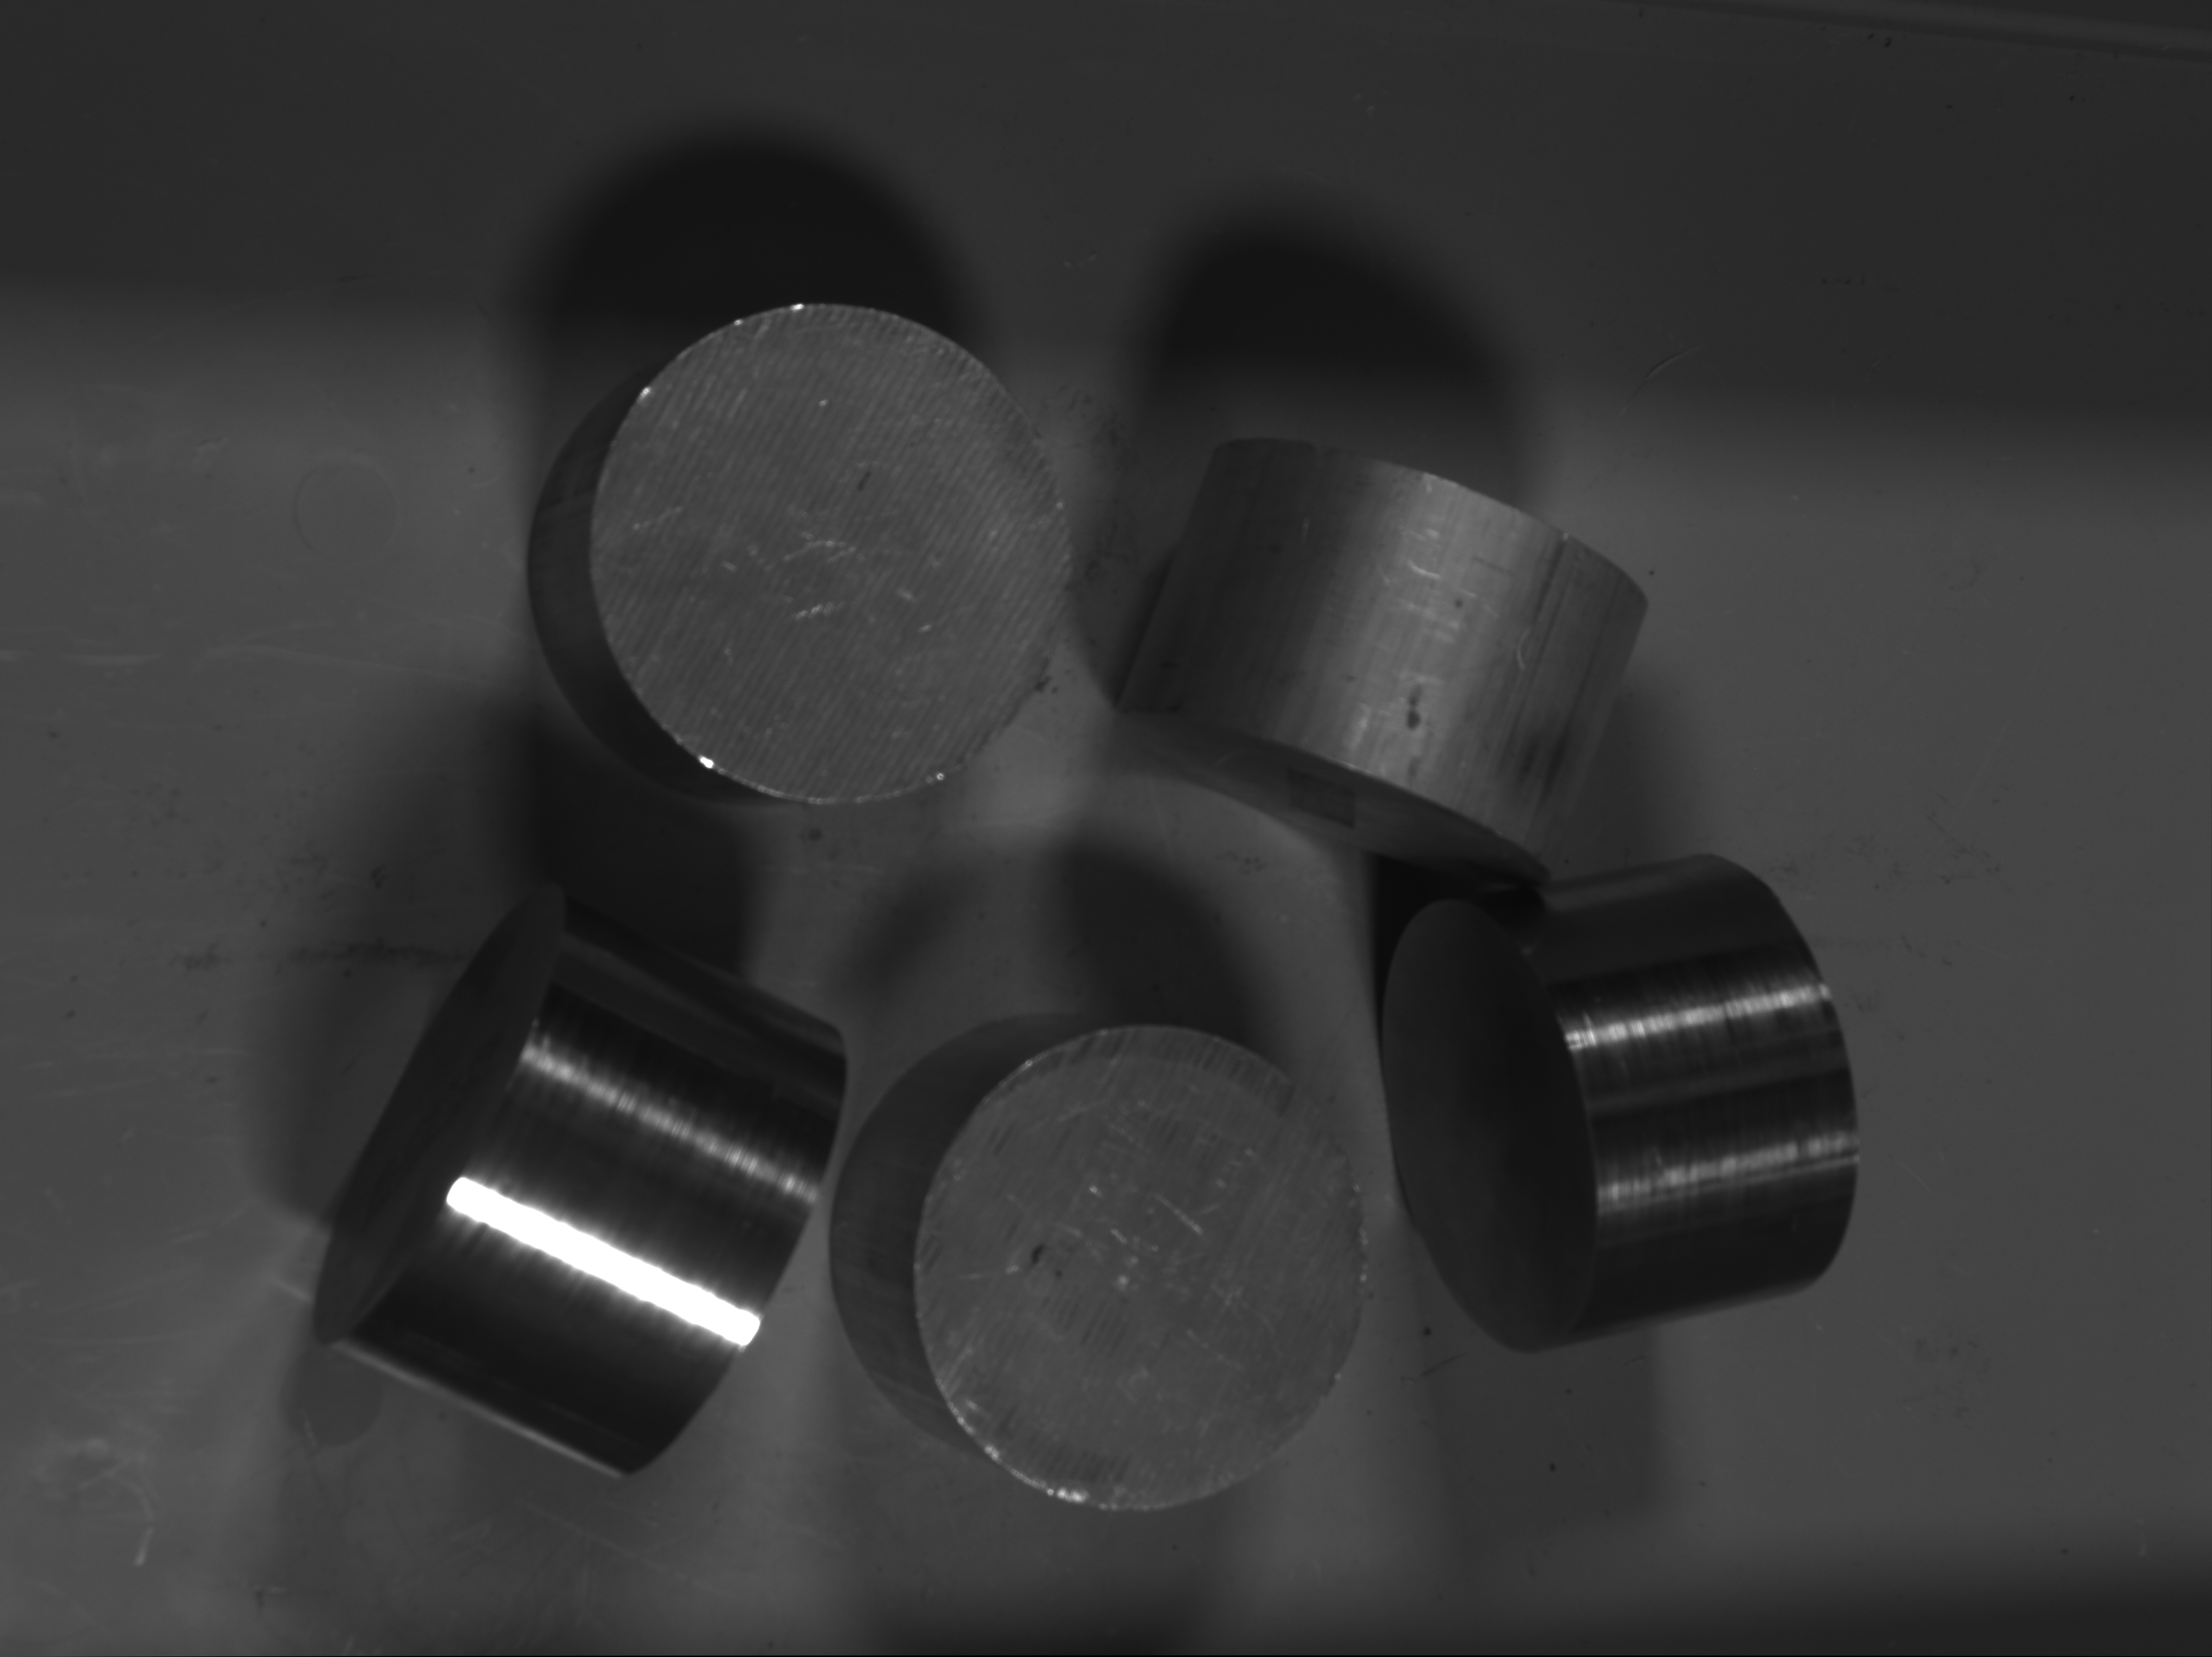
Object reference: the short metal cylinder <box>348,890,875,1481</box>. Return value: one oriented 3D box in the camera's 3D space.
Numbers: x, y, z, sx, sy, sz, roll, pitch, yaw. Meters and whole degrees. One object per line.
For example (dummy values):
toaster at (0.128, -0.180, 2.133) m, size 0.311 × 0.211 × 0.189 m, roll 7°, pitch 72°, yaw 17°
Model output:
short metal cylinder at (-0.079, 0.057, 0.583) m, size 0.050 × 0.080 × 0.080 m, roll 29°, pitch 81°, yaw -17°

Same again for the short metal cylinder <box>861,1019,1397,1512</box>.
short metal cylinder at (0.003, 0.073, 0.630) m, size 0.080 × 0.050 × 0.080 m, roll 0°, pitch 90°, yaw -20°

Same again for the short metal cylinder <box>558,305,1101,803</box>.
short metal cylinder at (-0.047, -0.044, 0.612) m, size 0.080 × 0.050 × 0.080 m, roll 0°, pitch 90°, yaw -20°

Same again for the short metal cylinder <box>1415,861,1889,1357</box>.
short metal cylinder at (0.095, 0.049, 0.647) m, size 0.050 × 0.080 × 0.080 m, roll -9°, pitch 93°, yaw -20°

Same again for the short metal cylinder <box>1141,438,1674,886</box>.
short metal cylinder at (0.052, -0.028, 0.633) m, size 0.080 × 0.080 × 0.050 m, roll 23°, pitch 82°, yaw -18°
